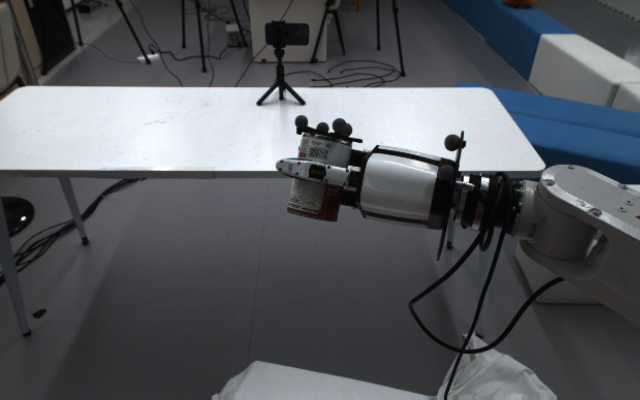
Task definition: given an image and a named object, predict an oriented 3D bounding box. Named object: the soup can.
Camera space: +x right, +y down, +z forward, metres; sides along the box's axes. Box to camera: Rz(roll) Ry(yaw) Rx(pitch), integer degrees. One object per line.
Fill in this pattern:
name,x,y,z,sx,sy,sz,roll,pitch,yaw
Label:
soup can,0.000,-0.028,0.621,0.067,0.101,0.067,11,2,0
